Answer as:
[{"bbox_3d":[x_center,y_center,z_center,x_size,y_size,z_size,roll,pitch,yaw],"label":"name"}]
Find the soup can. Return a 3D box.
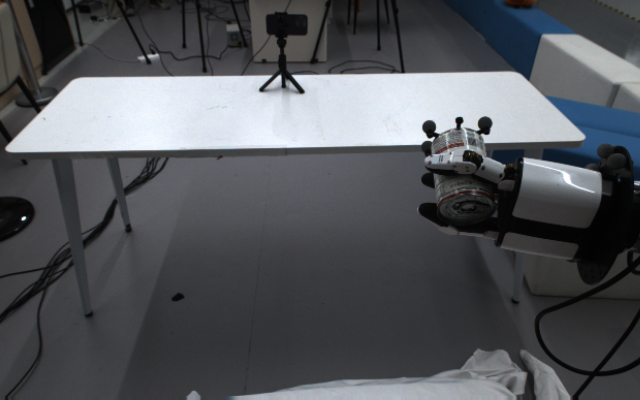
[{"bbox_3d":[0.175,-0.030,0.593,0.067,0.067,0.101,3,57,1],"label":"soup can"}]
